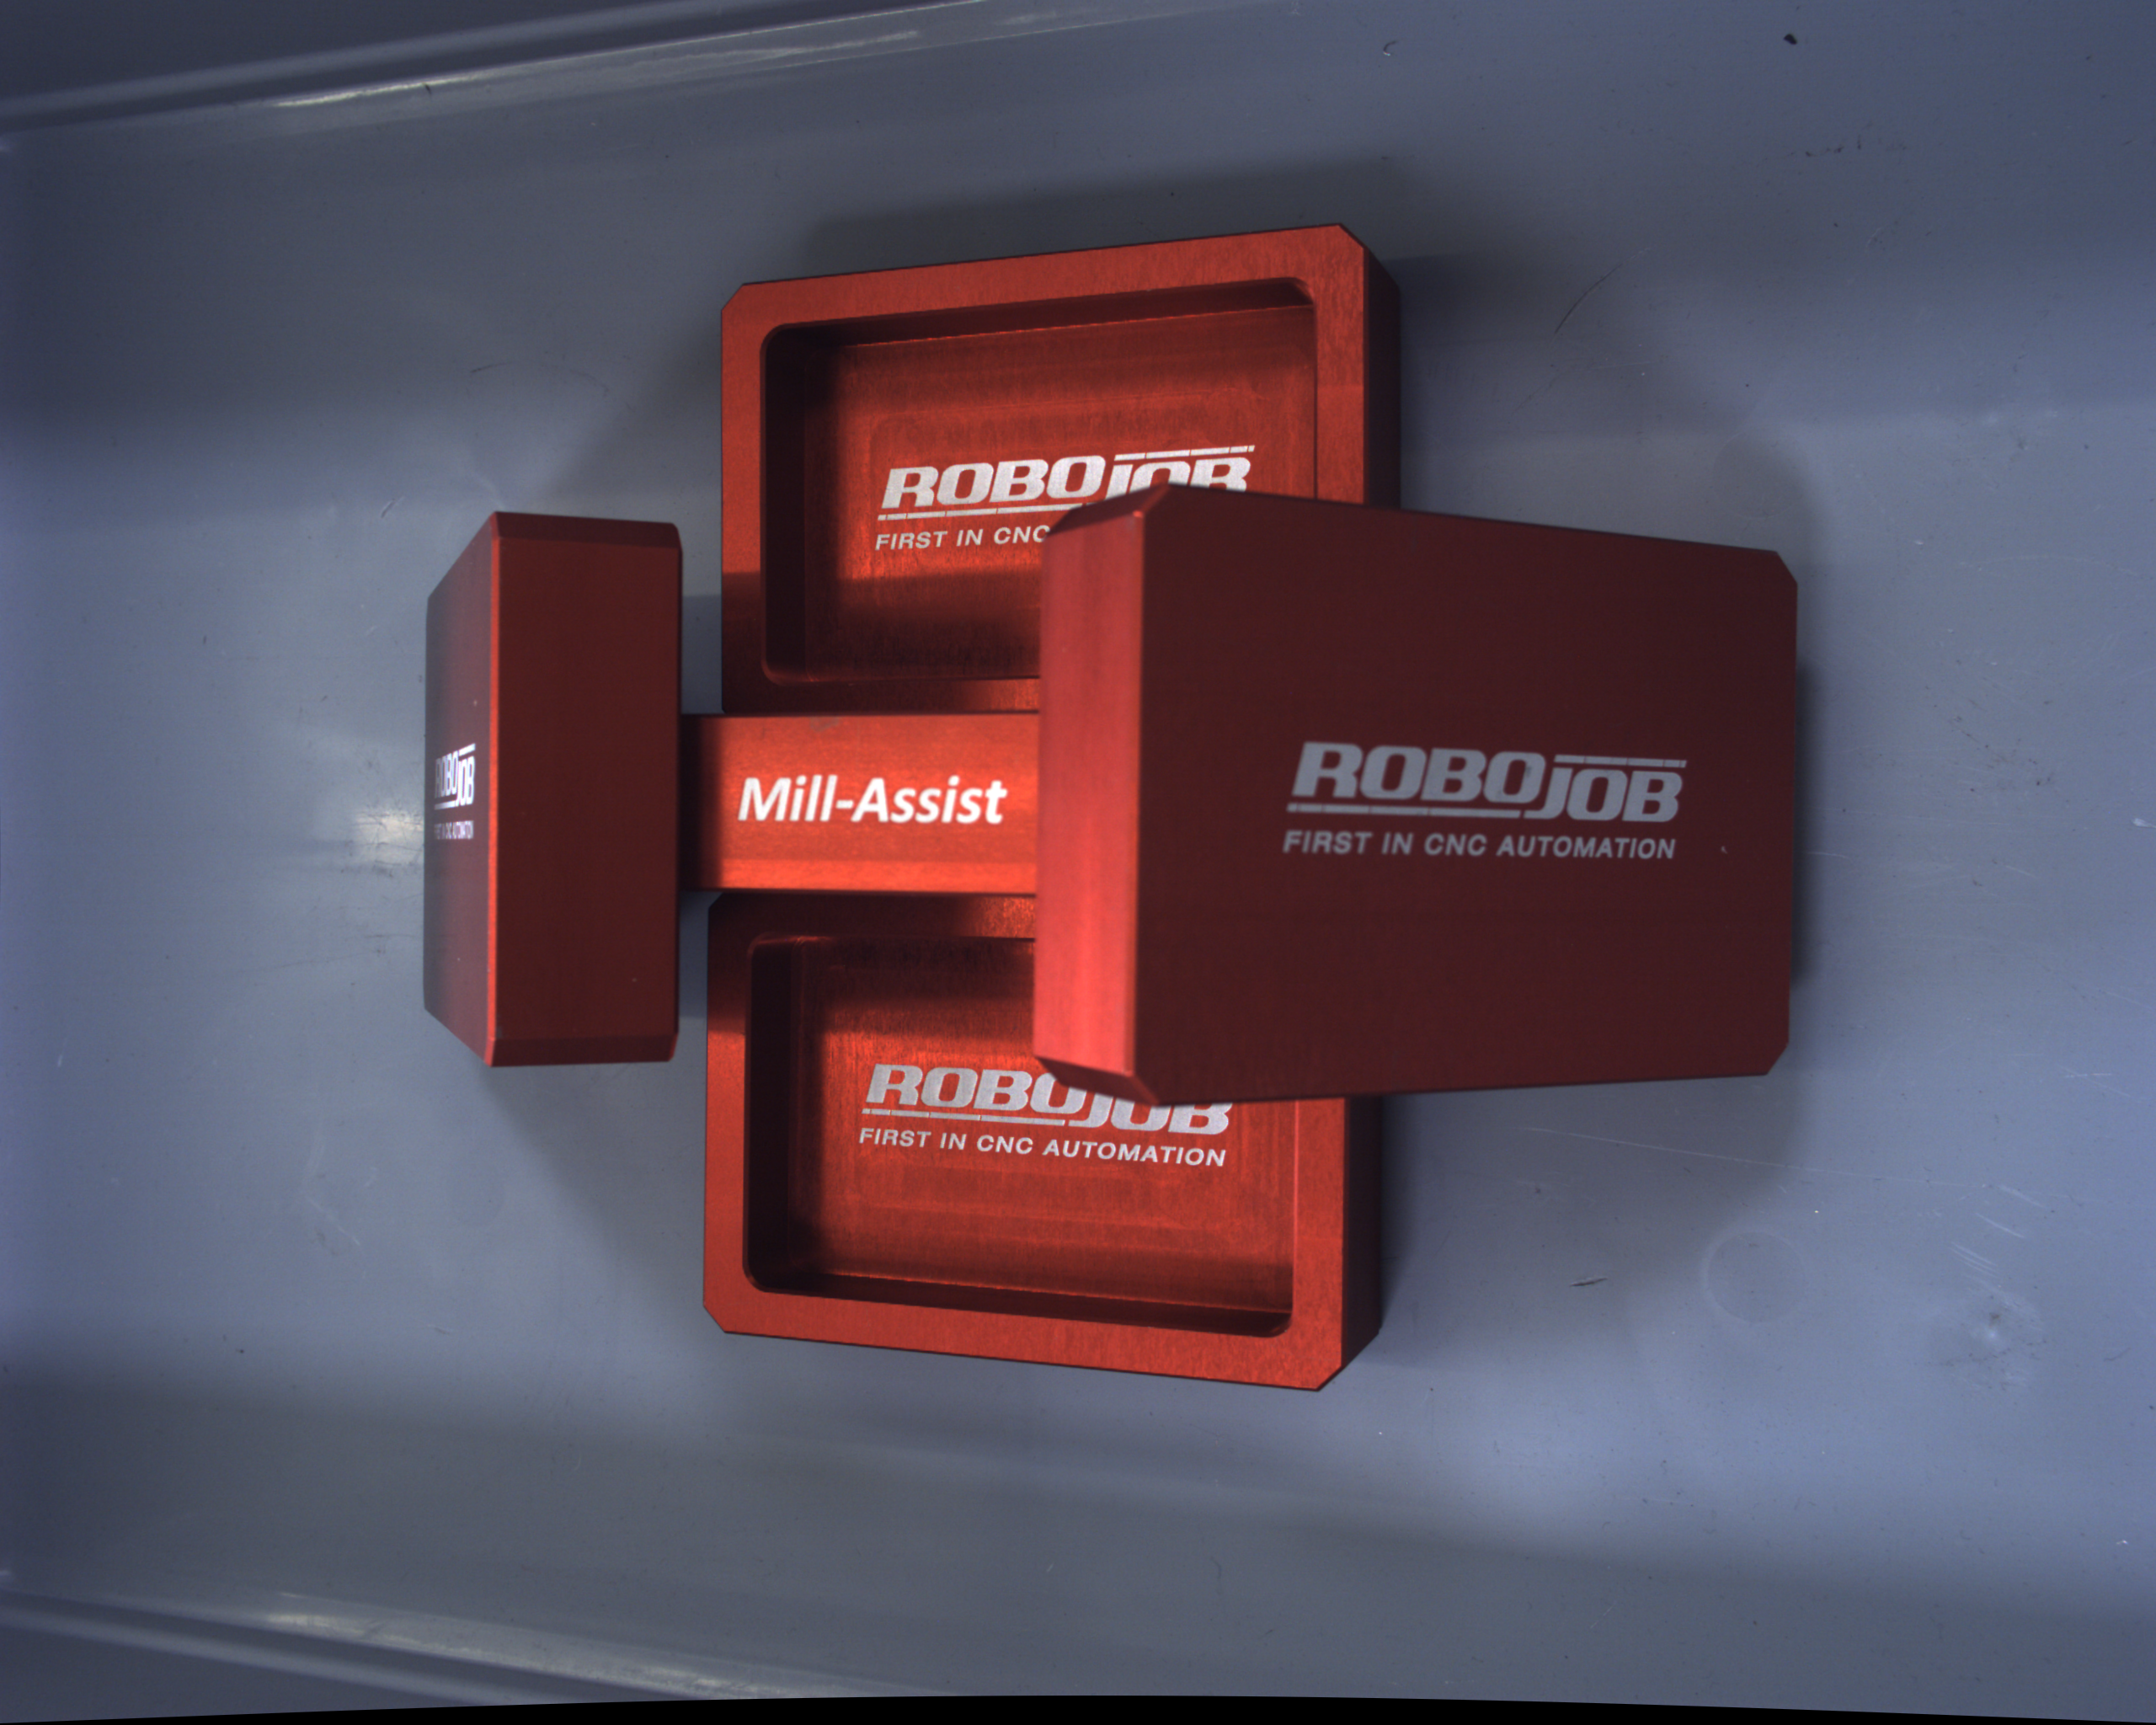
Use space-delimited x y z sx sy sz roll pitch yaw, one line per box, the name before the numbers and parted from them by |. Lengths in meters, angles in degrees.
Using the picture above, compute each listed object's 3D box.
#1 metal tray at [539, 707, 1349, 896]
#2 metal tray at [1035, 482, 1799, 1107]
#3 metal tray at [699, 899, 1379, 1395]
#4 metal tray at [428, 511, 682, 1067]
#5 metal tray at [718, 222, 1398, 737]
metal tray | -0.019 -0.010 0.381 0.130 0.090 0.030 1 90 19
metal tray | 0.059 -0.009 0.339 0.030 0.131 0.089 1 90 62
metal tray | -0.009 0.050 0.407 0.130 0.030 0.089 1 90 19
metal tray | -0.103 -0.012 0.396 0.030 0.130 0.089 1 90 -22
metal tray | -0.005 -0.070 0.408 0.130 0.030 0.089 0 90 19
